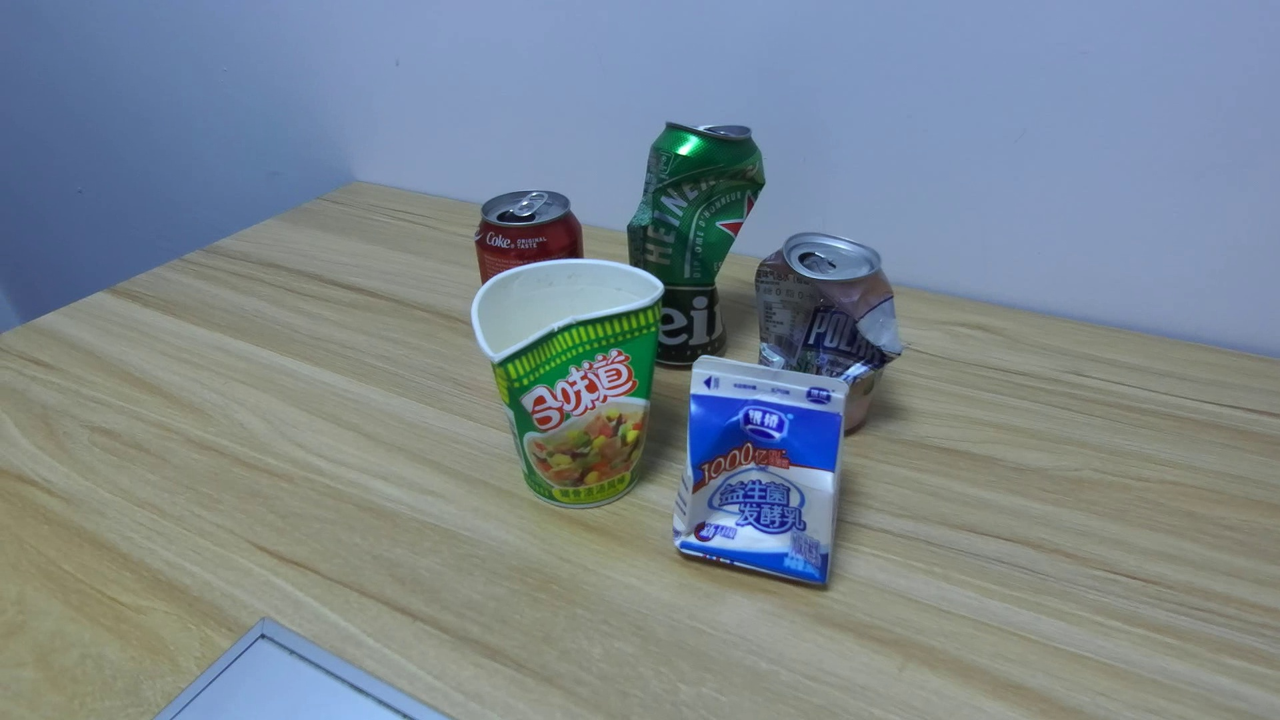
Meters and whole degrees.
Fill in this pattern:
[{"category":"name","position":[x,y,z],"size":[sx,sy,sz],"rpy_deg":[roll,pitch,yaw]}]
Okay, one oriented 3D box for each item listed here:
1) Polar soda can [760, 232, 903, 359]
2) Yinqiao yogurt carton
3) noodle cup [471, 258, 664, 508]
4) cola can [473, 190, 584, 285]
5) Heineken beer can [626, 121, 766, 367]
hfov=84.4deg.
[{"category":"Polar soda can","position":[0.107,-0.013,0.410],"size":[0.074,0.114,0.070],"rpy_deg":[-5,39,0]},{"category":"Yinqiao yogurt carton","position":[0.061,0.044,0.341],"size":[0.077,0.094,0.071],"rpy_deg":[9,31,14]},{"category":"noodle cup","position":[-0.033,0.013,0.379],"size":[0.094,0.109,0.086],"rpy_deg":[-9,35,-9]},{"category":"cola can","position":[-0.068,-0.049,0.463],"size":[0.068,0.120,0.067],"rpy_deg":[-2,36,2]},{"category":"Heineken beer can","position":[0.032,-0.072,0.462],"size":[0.067,0.159,0.079],"rpy_deg":[17,31,22]}]
